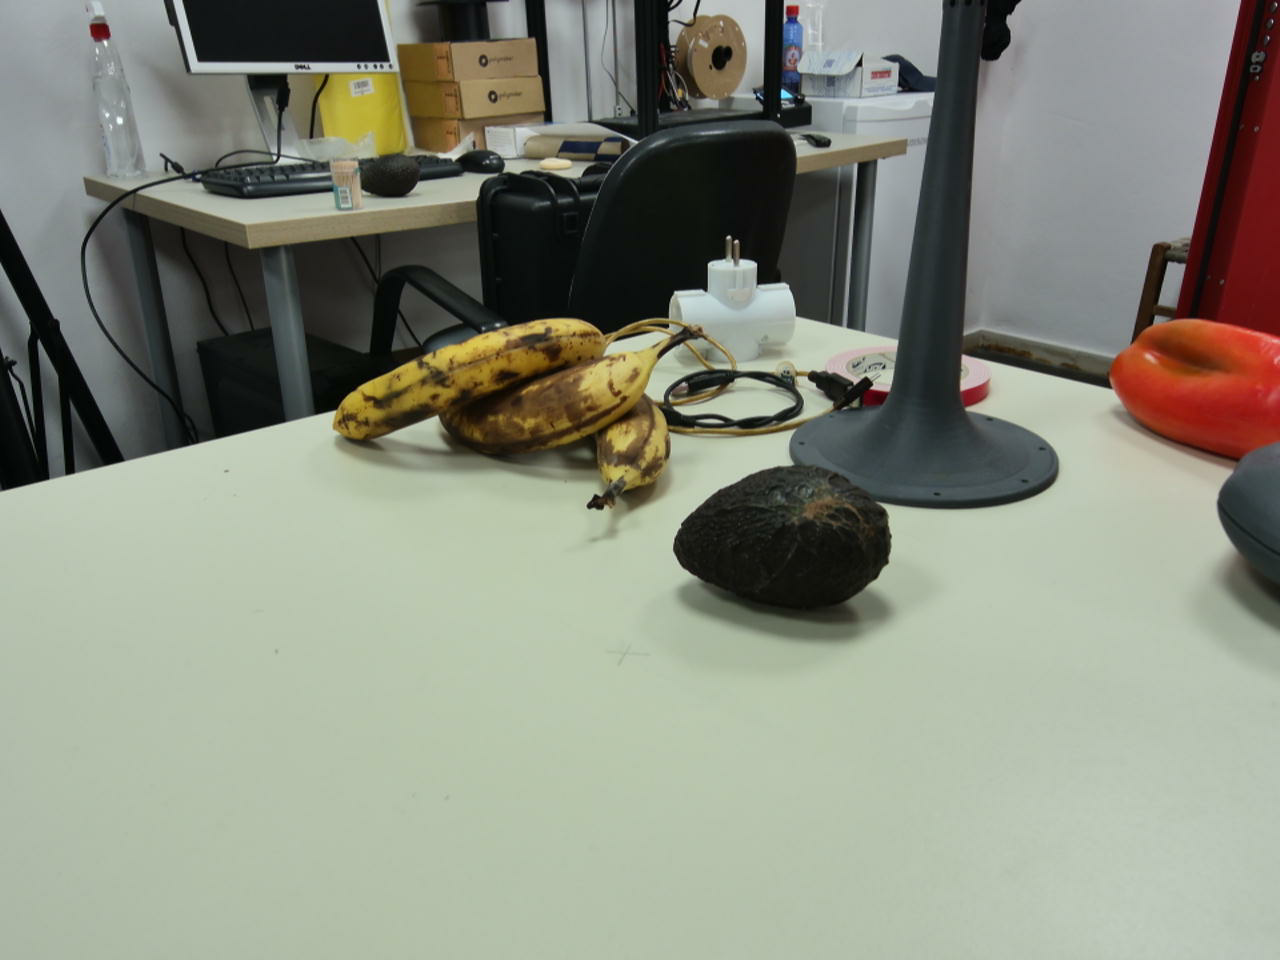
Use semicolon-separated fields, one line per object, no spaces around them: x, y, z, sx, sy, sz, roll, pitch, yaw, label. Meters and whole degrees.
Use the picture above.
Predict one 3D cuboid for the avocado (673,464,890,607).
0.062;0.023;0.437;0.092;0.062;0.062;11;24;25;avocado
